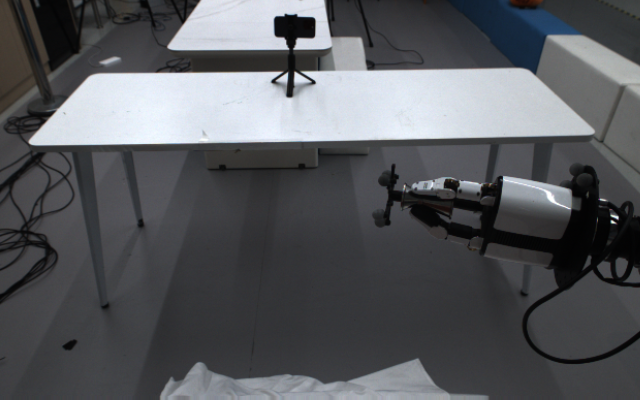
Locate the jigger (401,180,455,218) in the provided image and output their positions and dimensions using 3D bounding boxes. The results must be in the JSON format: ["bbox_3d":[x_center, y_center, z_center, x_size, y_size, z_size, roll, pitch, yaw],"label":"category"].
[{"bbox_3d":[0.154,-0.004,0.662,0.071,0.043,0.043,8,35,12],"label":"jigger"}]
